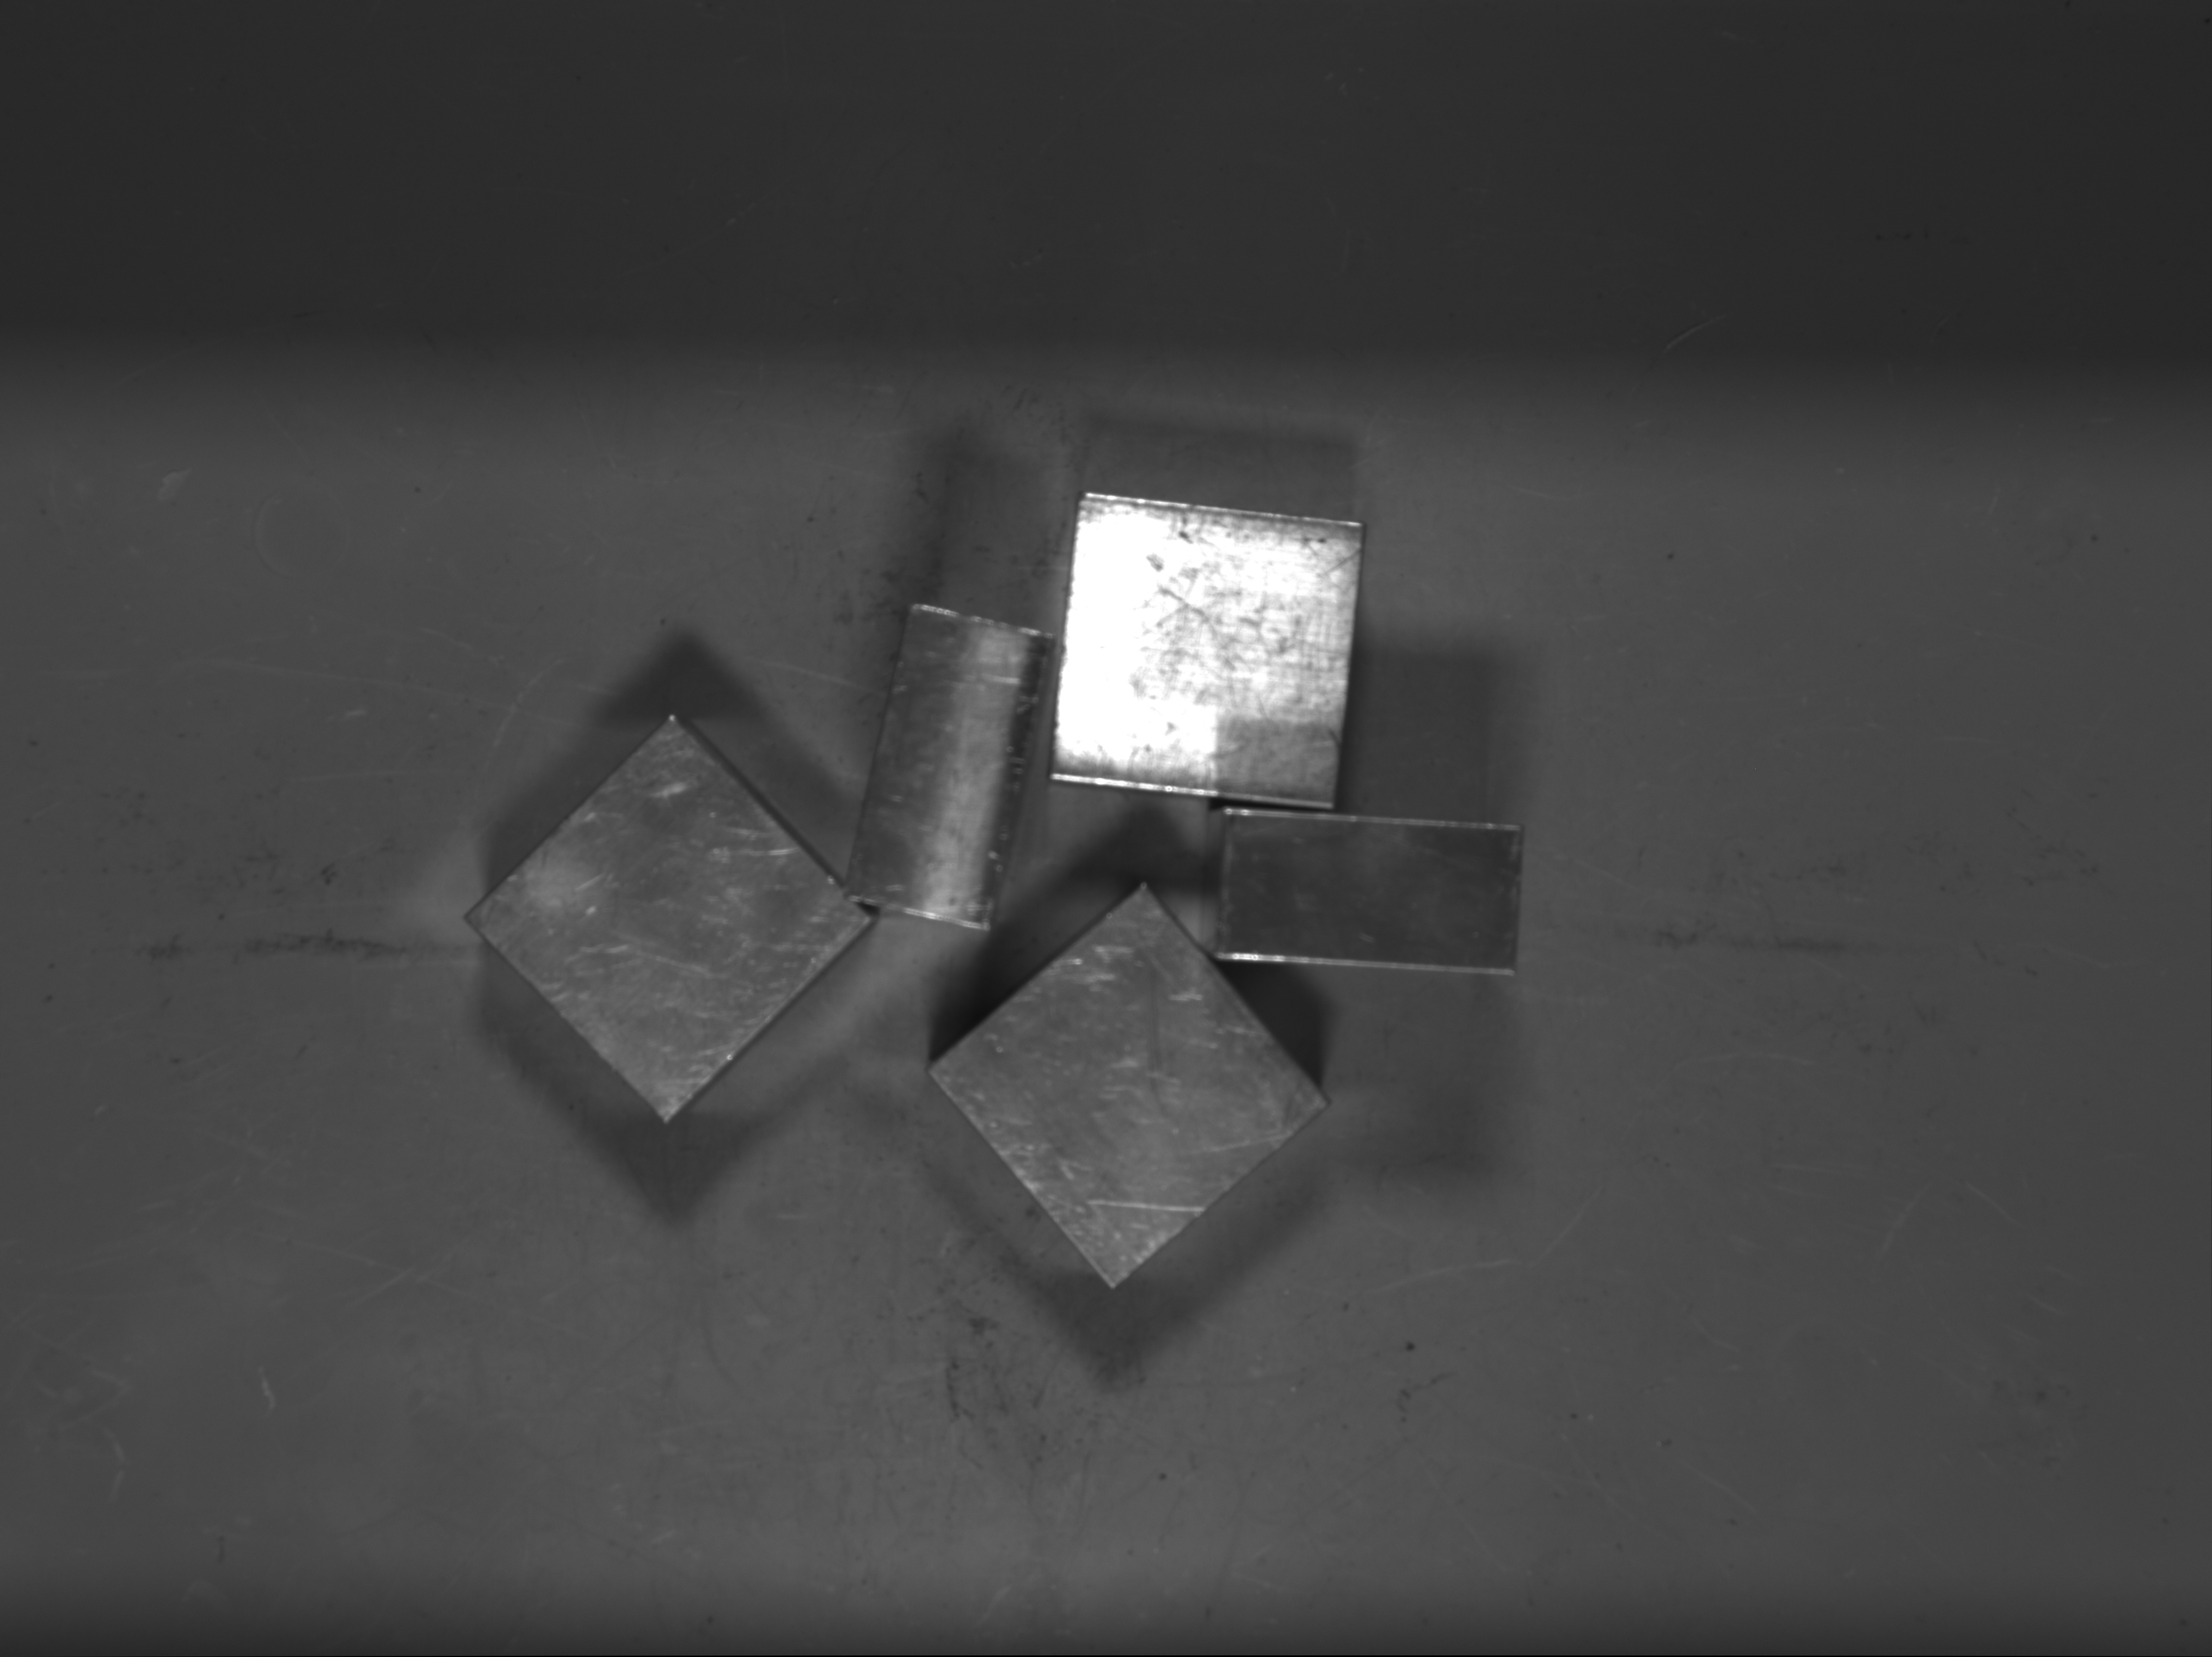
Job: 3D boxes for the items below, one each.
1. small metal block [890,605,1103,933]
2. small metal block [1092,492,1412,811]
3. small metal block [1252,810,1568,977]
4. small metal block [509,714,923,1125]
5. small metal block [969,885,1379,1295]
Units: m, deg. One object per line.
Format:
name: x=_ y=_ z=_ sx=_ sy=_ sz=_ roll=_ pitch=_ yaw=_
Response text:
small metal block: x=-0.018 y=-0.010 z=0.631 sx=0.025 sy=0.050 sz=0.050 roll=13 pitch=90 yaw=0
small metal block: x=0.025 y=-0.030 z=0.644 sx=0.050 sy=0.025 sz=0.050 roll=6 pitch=90 yaw=0
small metal block: x=0.051 y=0.011 z=0.631 sx=0.050 sy=0.050 sz=0.025 roll=3 pitch=90 yaw=0
small metal block: x=-0.067 y=0.016 z=0.643 sx=0.050 sy=0.025 sz=0.050 roll=-45 pitch=90 yaw=0
small metal block: x=0.012 y=0.045 z=0.643 sx=0.050 sy=0.025 sz=0.050 roll=-41 pitch=90 yaw=0
